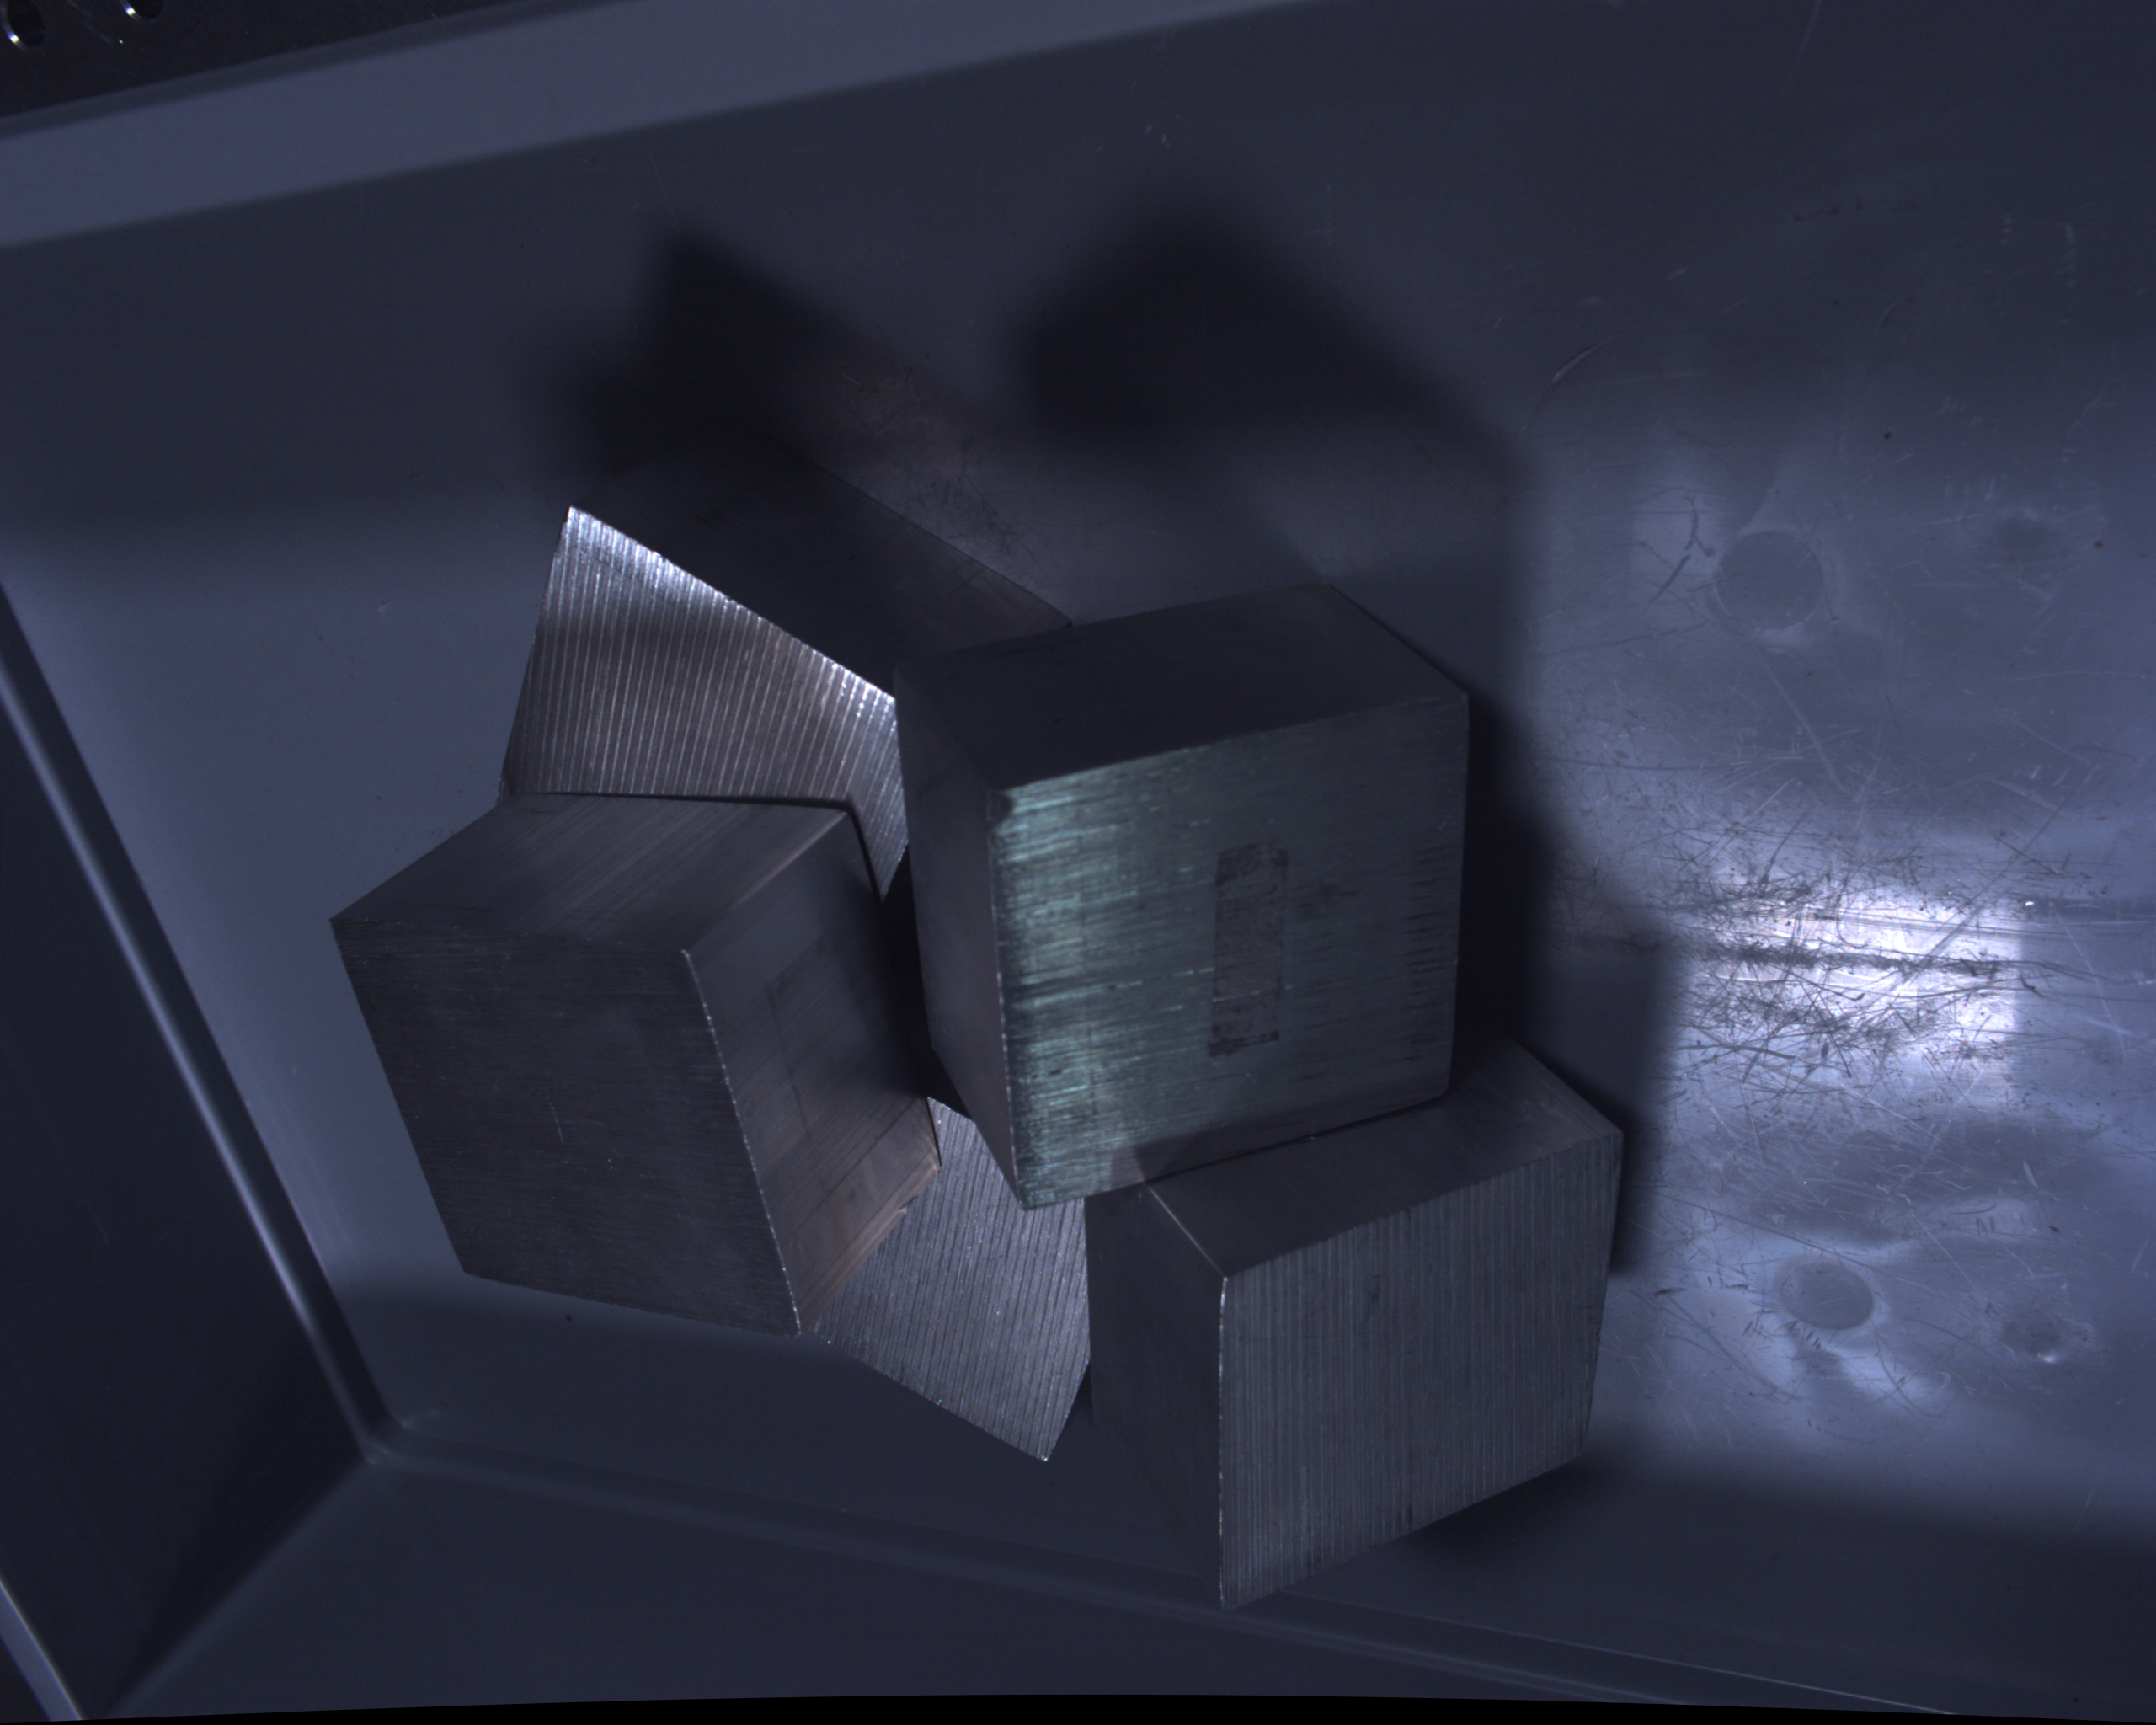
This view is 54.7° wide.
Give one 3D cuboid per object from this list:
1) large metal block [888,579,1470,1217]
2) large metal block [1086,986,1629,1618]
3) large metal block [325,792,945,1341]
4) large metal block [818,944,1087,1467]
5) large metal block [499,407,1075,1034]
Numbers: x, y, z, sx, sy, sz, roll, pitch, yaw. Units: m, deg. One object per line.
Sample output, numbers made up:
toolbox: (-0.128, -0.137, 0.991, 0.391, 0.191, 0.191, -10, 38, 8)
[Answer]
large metal block: (0.017, 0.004, 0.356, 0.081, 0.050, 0.079, -13, 122, -17)
large metal block: (0.049, 0.079, 0.384, 0.050, 0.081, 0.079, 45, 144, 51)
large metal block: (-0.079, 0.035, 0.386, 0.080, 0.050, 0.079, 3, 119, 27)
large metal block: (-0.022, 0.067, 0.438, 0.080, 0.050, 0.079, 26, 128, 11)
large metal block: (-0.059, -0.027, 0.404, 0.080, 0.050, 0.079, 31, 128, 7)
